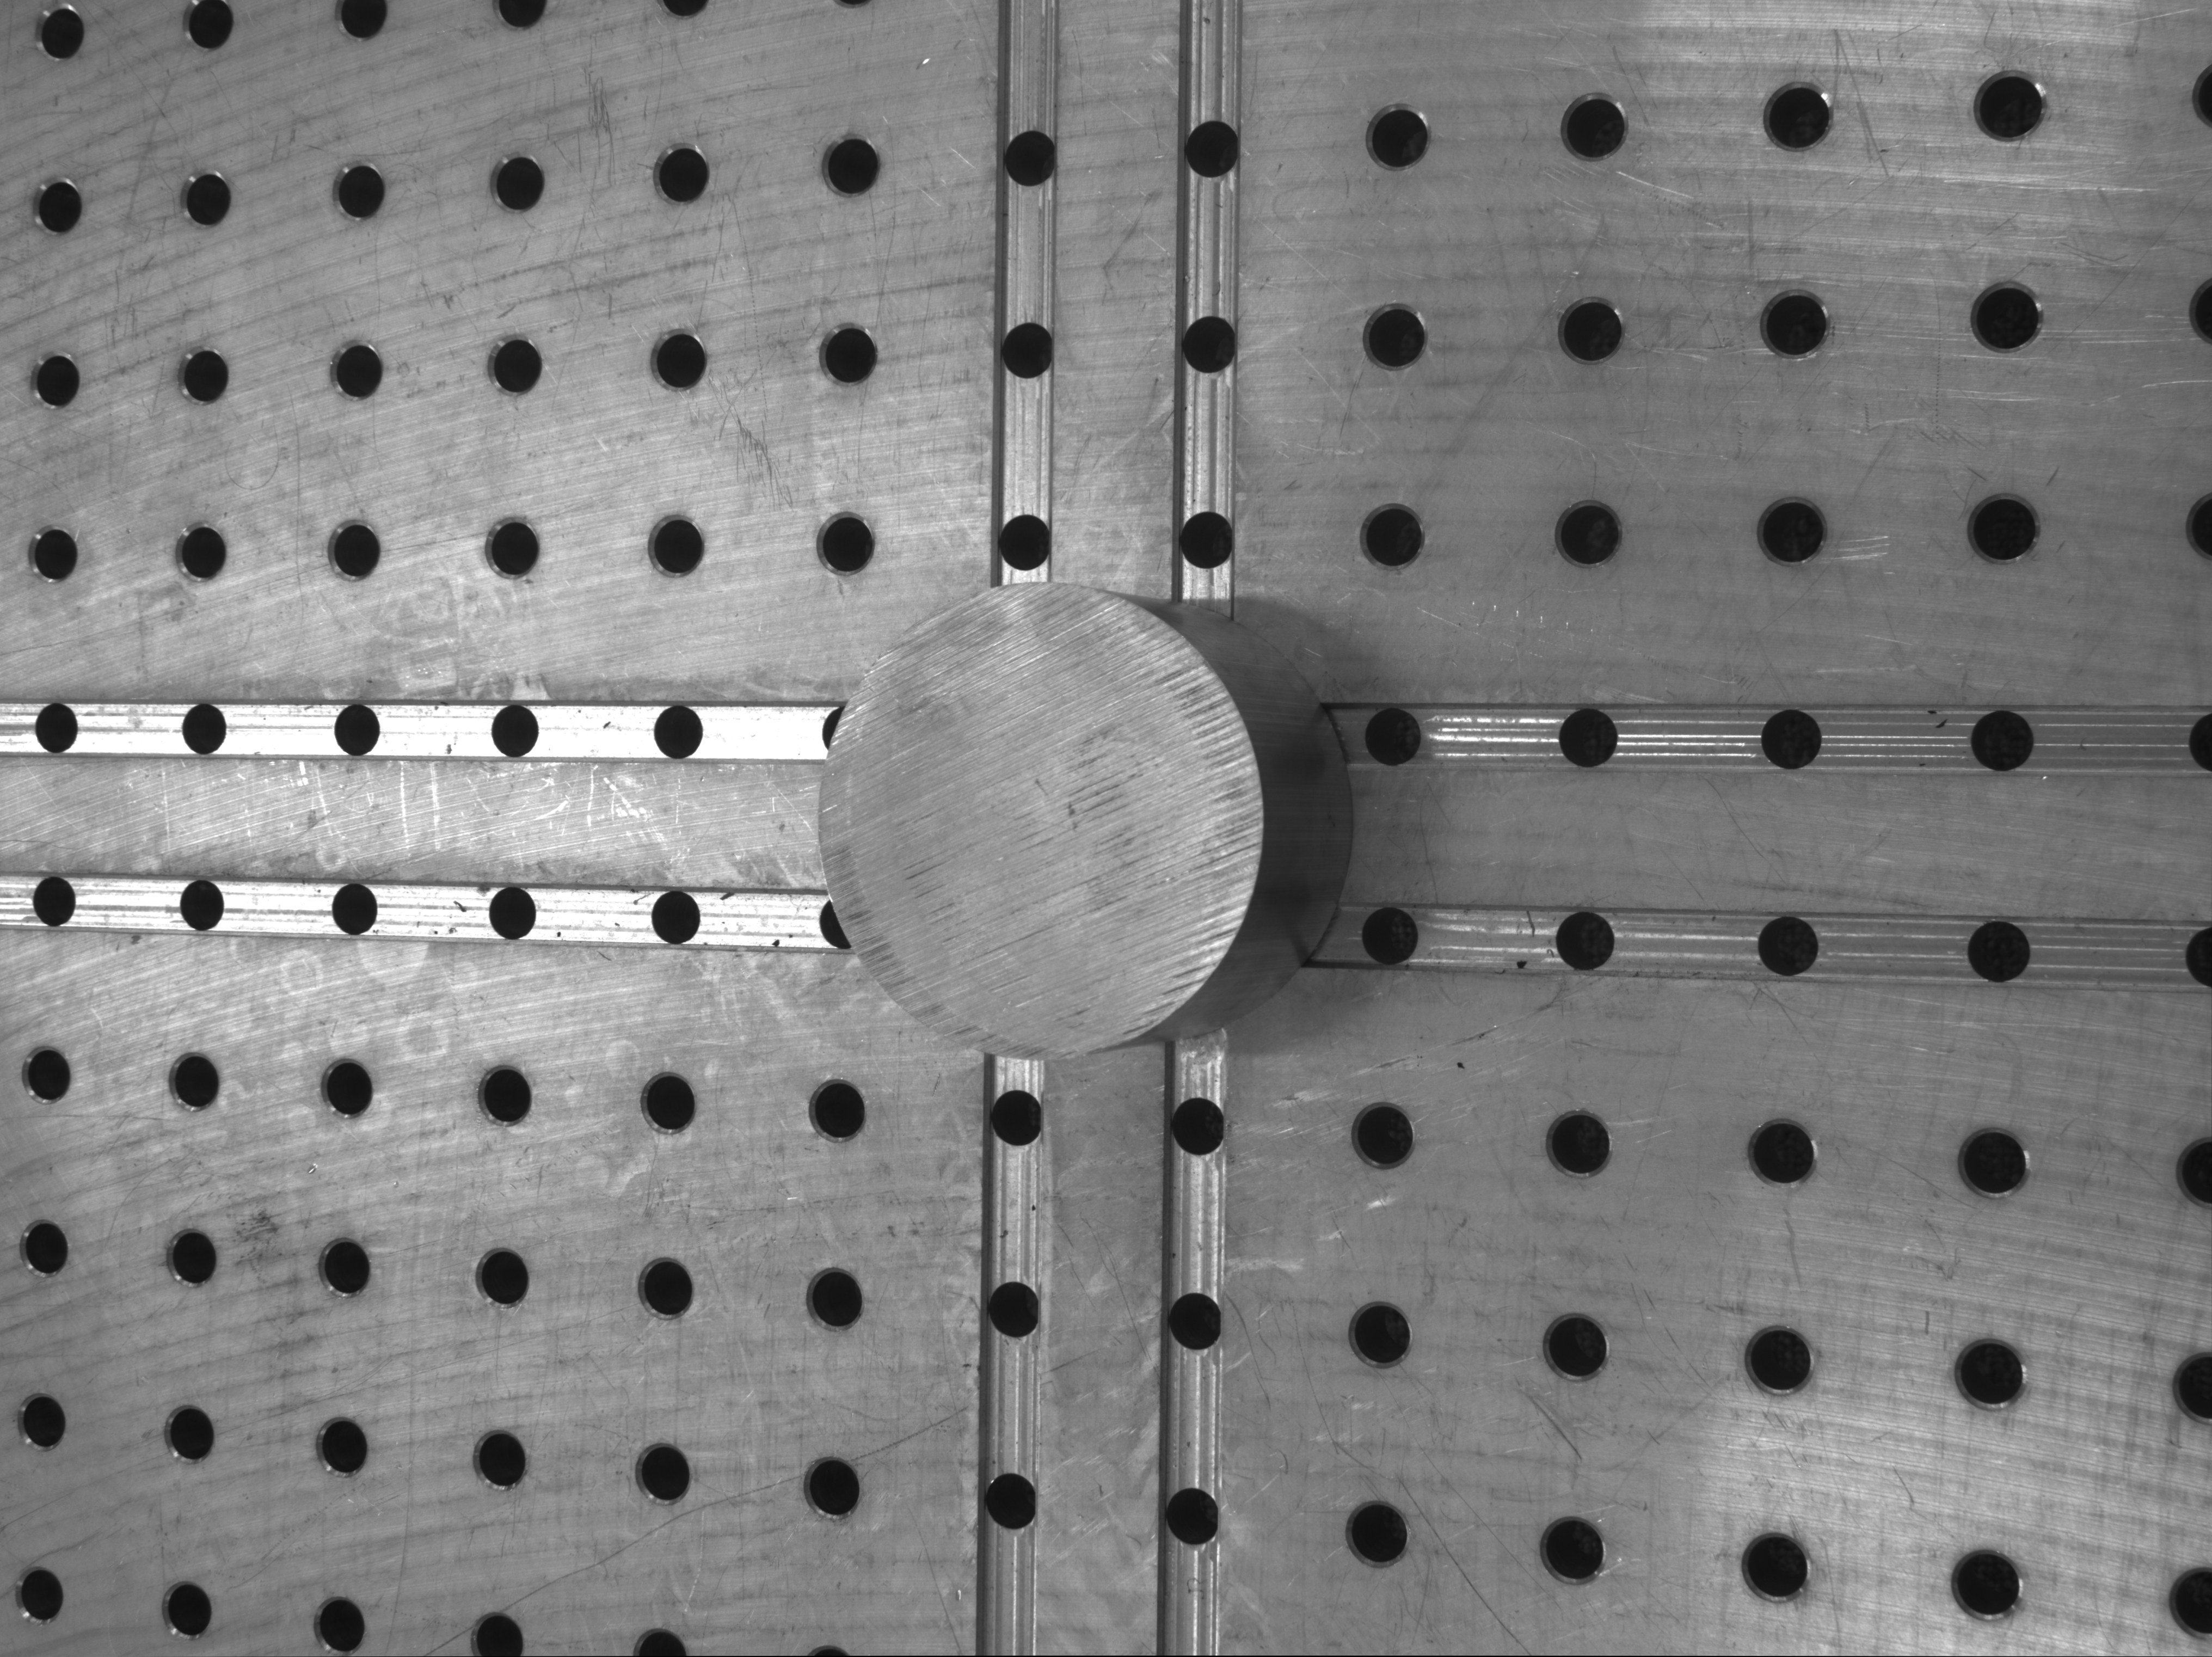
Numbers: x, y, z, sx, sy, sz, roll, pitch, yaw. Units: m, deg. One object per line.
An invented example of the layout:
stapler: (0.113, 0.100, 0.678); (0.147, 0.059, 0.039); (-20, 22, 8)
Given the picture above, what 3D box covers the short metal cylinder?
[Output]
short metal cylinder: (-0.003, -0.001, 0.637); (0.080, 0.050, 0.080); (0, 90, 20)
